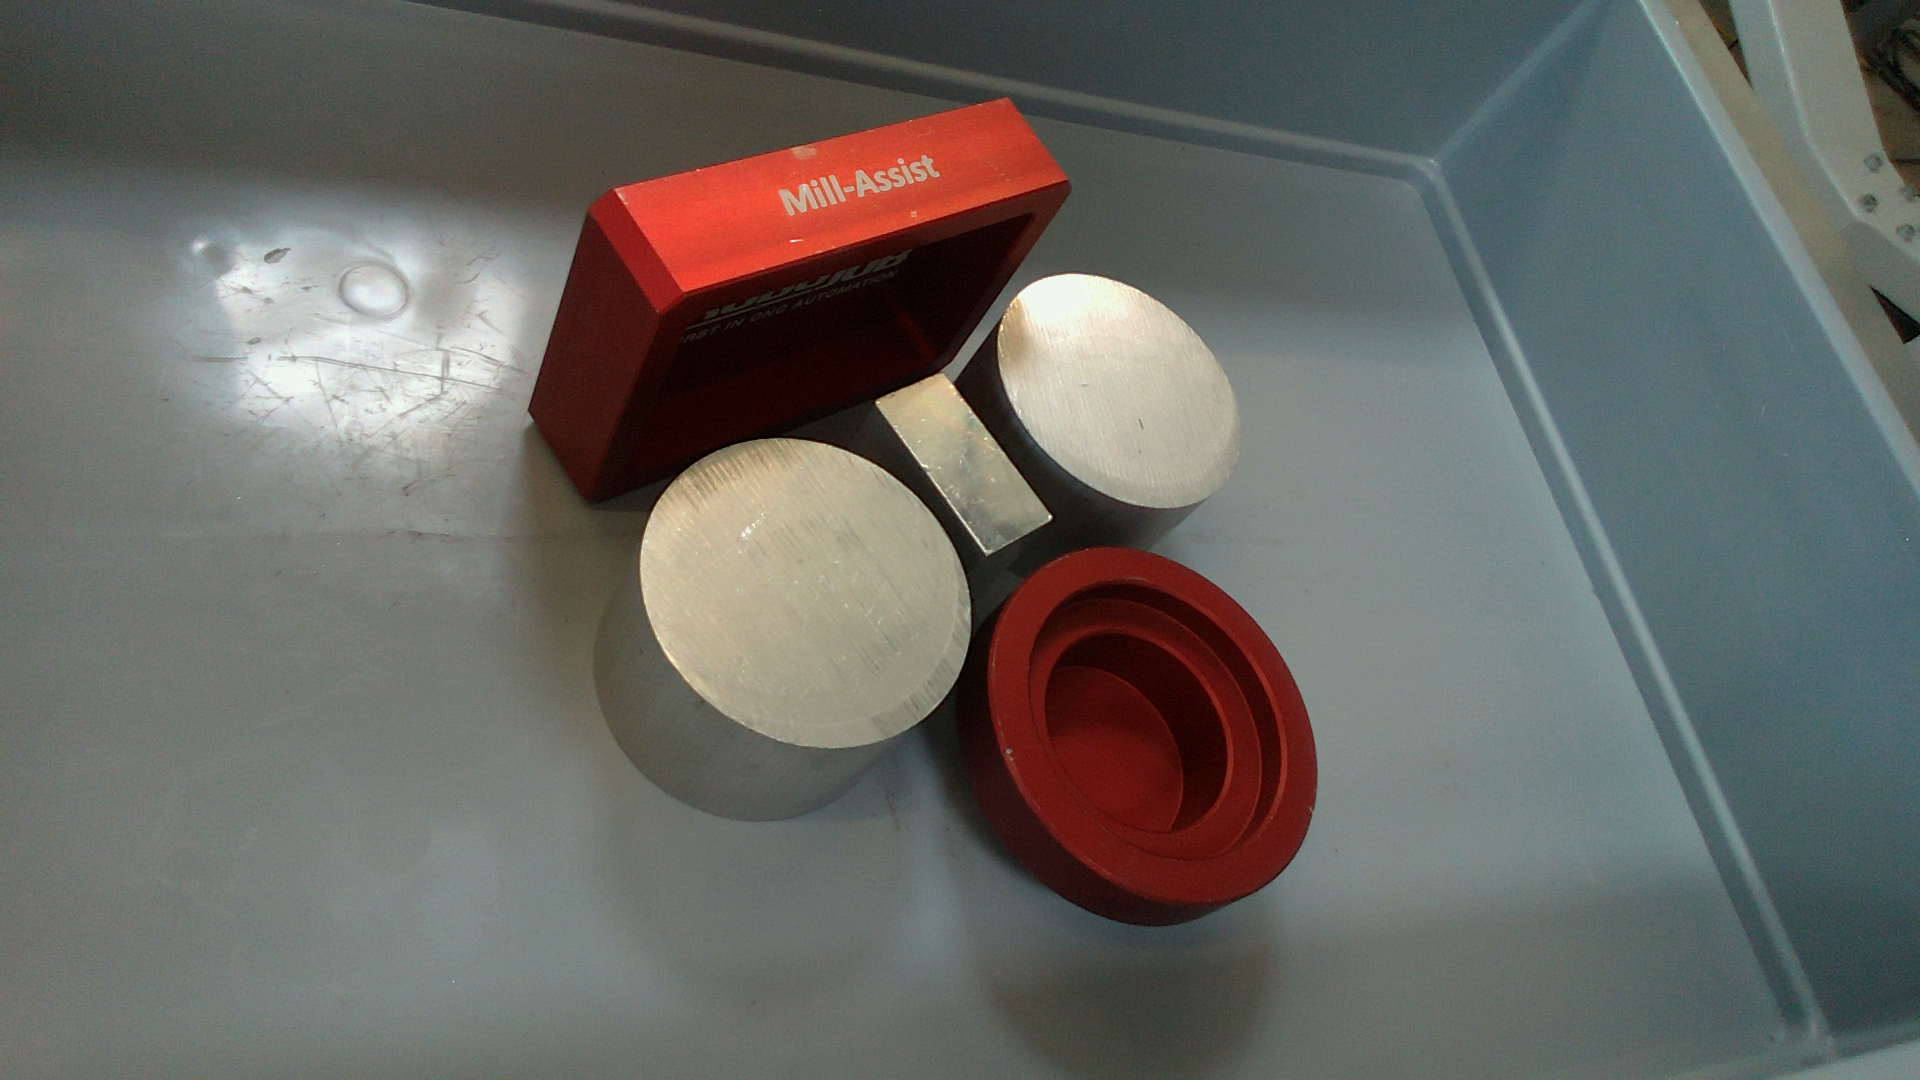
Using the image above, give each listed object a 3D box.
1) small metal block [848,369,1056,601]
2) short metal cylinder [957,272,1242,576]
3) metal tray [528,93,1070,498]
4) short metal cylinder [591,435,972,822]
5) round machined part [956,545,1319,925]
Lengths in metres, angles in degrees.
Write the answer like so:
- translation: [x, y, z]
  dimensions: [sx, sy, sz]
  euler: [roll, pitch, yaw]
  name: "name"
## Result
- translation: [-0.009, -0.009, 0.372]
  dimensions: [0.025, 0.050, 0.050]
  euler: [-28, 77, -37]
  name: "small metal block"
- translation: [0.036, -0.032, 0.411]
  dimensions: [0.080, 0.050, 0.080]
  euler: [14, 56, -21]
  name: "short metal cylinder"
- translation: [-0.041, -0.065, 0.363]
  dimensions: [0.130, 0.090, 0.030]
  euler: [-26, 76, -36]
  name: "metal tray"
- translation: [-0.044, 0.022, 0.335]
  dimensions: [0.080, 0.050, 0.080]
  euler: [14, 56, -21]
  name: "short metal cylinder"
- translation: [0.043, 0.054, 0.367]
  dimensions: [0.098, 0.042, 0.098]
  euler: [14, 56, -21]
  name: "round machined part"
